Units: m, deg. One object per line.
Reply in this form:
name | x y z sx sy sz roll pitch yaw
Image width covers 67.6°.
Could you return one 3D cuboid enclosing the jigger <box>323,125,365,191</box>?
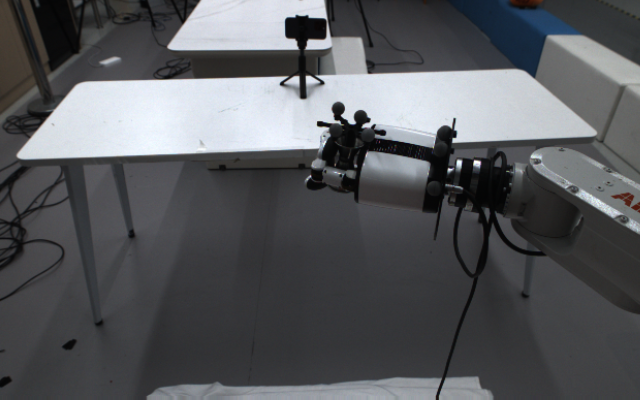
jigger | 0.036 -0.048 0.650 0.043 0.071 0.043 7 32 -4
